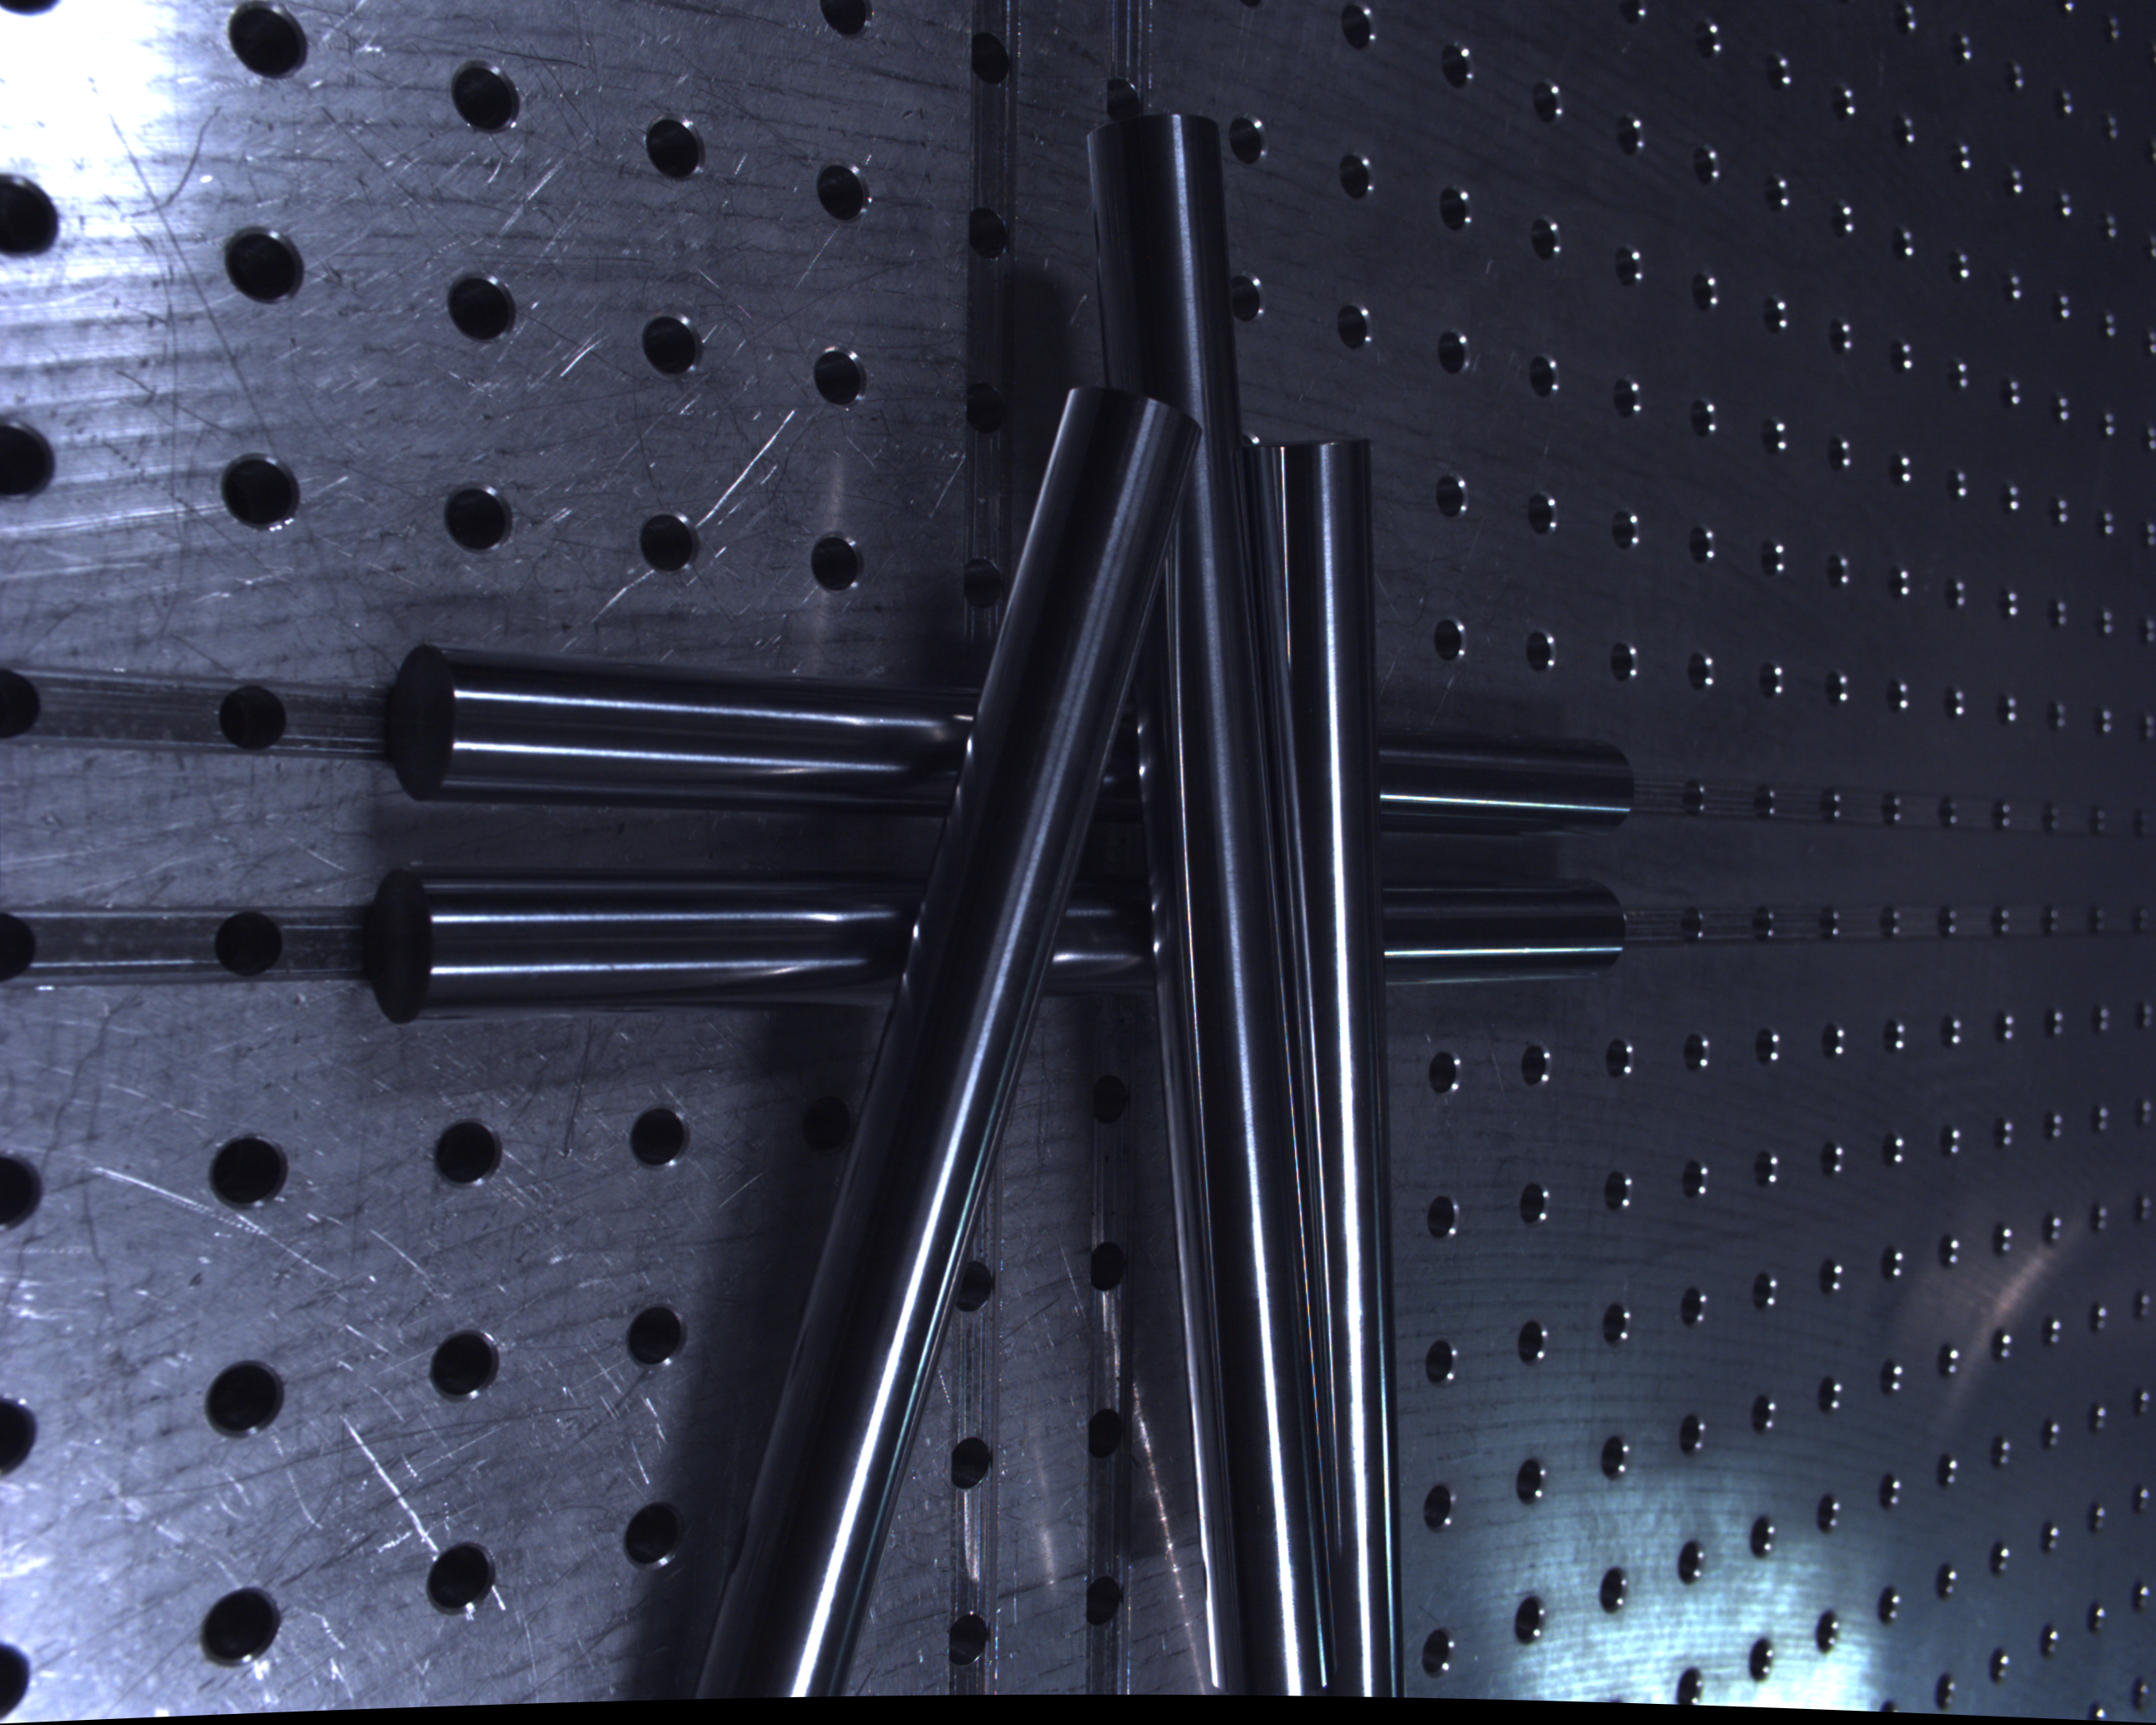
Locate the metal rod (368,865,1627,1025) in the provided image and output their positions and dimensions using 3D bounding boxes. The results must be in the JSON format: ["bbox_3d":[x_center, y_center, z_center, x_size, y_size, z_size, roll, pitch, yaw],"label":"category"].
[{"bbox_3d":[0.010,0.014,0.420,0.302,0.025,0.025,1,90,-40],"label":"metal rod"}]

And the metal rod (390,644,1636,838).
[{"bbox_3d":[0.013,-0.020,0.423,0.302,0.025,0.025,1,90,-40],"label":"metal rod"}]

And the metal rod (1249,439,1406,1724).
[{"bbox_3d":[0.052,0.065,0.431,0.025,0.025,0.298,-14,106,-40],"label":"metal rod"}]

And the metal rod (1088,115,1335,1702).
[{"bbox_3d":[0.026,0.012,0.401,0.025,0.025,0.298,-8,95,-40],"label":"metal rod"}]

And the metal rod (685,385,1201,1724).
[{"bbox_3d":[-0.030,0.063,0.362,0.025,0.025,0.299,19,85,-39],"label":"metal rod"}]
